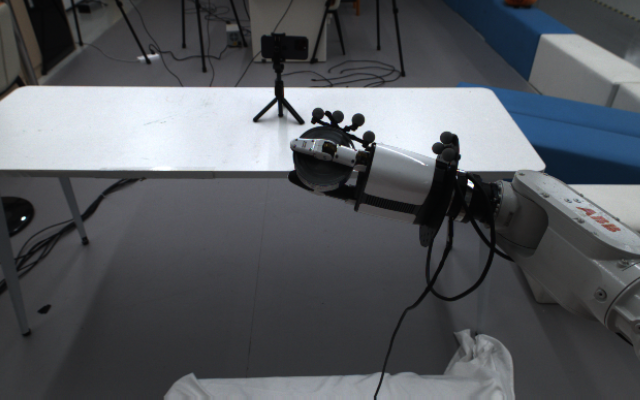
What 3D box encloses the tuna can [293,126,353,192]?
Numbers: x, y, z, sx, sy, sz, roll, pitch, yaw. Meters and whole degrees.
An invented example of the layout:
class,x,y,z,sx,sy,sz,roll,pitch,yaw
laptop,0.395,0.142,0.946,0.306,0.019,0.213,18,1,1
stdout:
class,x,y,z,sx,sy,sz,roll,pitch,yaw
tuna can,0.007,-0.056,0.668,0.085,0.034,0.085,0,72,0
